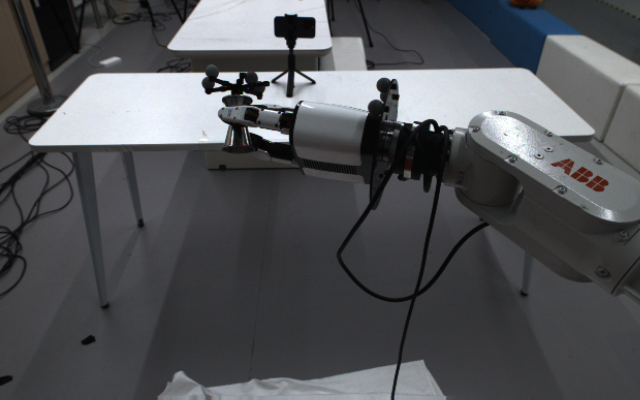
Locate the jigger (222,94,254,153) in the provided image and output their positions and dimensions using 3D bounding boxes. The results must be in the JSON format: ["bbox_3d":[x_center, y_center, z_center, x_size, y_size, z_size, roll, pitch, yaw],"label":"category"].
[{"bbox_3d":[-0.107,-0.098,0.631,0.043,0.071,0.043,-2,-7,0],"label":"jigger"}]
